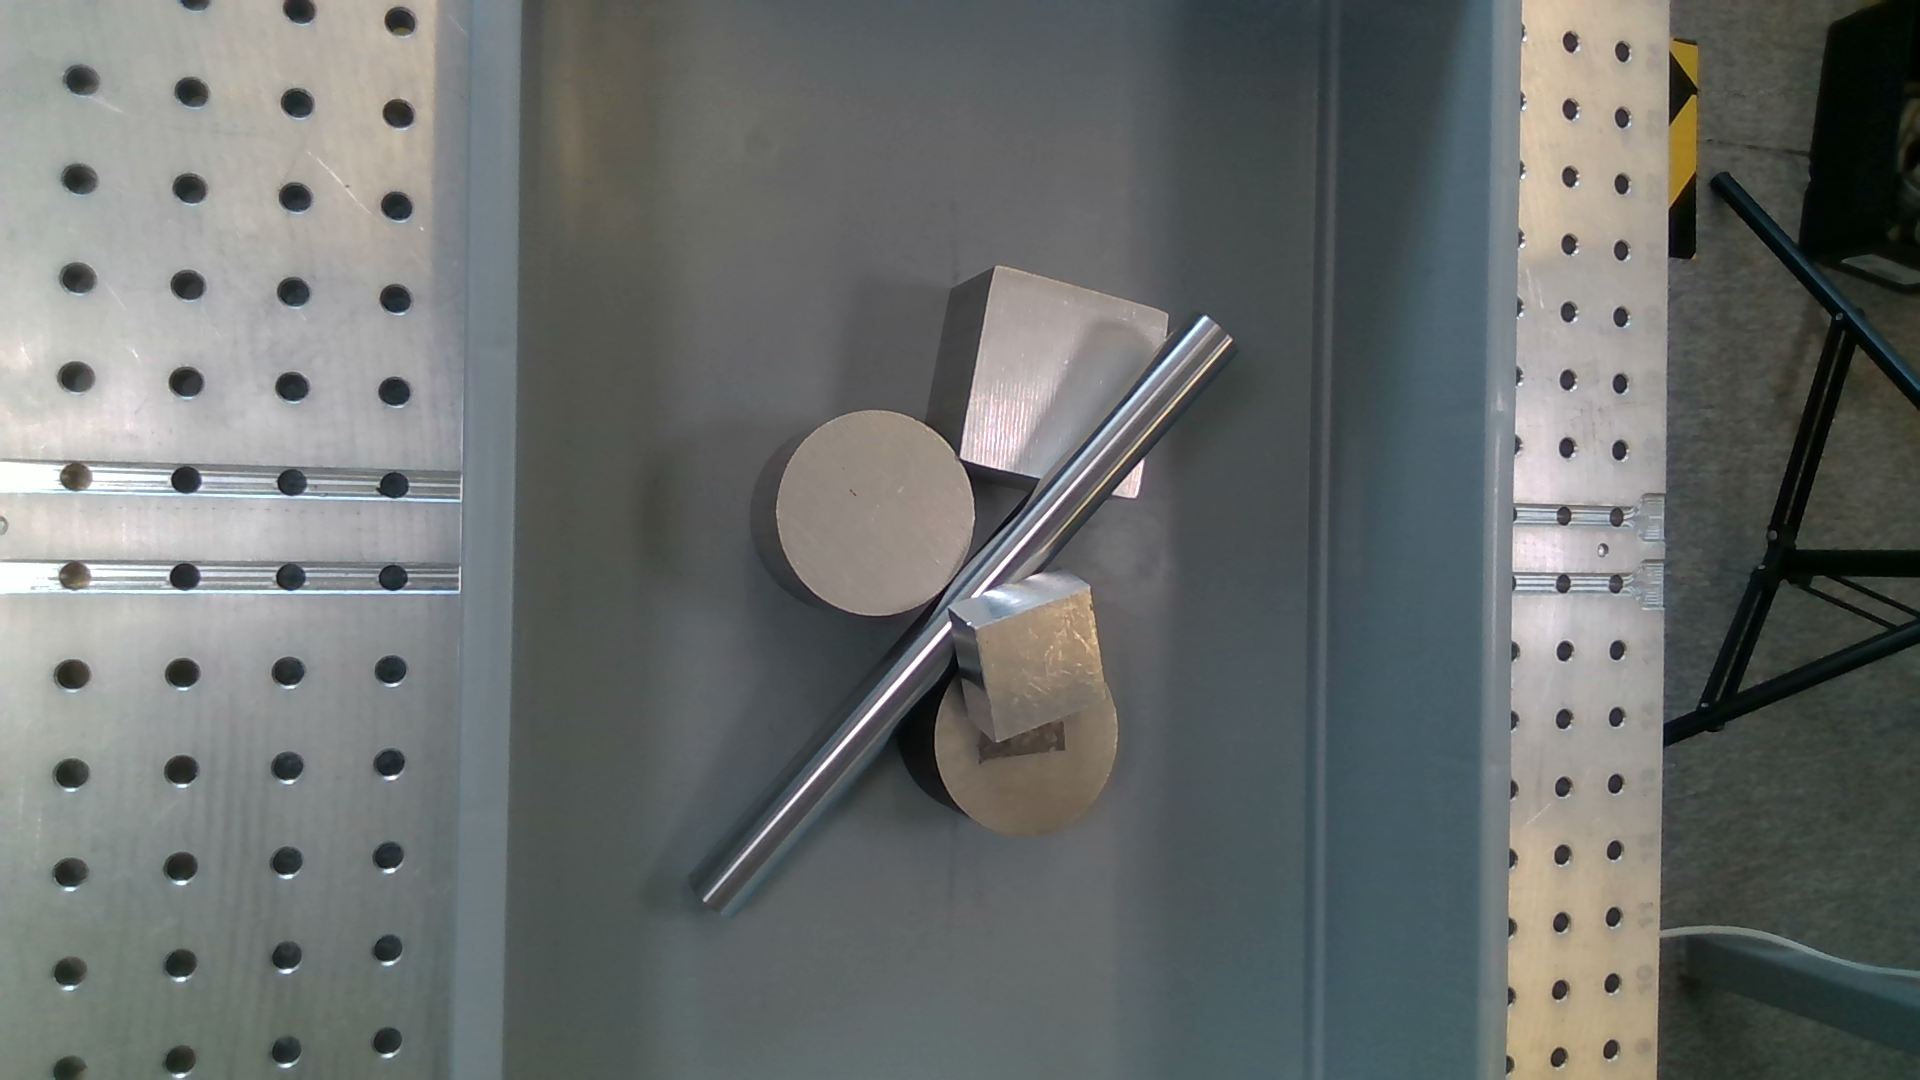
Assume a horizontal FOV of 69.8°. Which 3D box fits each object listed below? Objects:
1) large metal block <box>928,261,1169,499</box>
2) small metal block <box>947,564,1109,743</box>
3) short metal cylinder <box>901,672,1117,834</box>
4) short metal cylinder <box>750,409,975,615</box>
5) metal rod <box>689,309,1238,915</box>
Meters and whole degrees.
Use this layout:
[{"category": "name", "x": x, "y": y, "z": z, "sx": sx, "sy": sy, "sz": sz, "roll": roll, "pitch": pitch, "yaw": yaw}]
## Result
[{"category": "large metal block", "x": 0.035, "y": -0.064, "z": 0.582, "sx": 0.080, "sy": 0.050, "sz": 0.080, "roll": 12, "pitch": 86, "yaw": -20}, {"category": "small metal block", "x": 0.027, "y": 0.044, "z": 0.535, "sx": 0.050, "sy": 0.025, "sz": 0.050, "roll": -19, "pitch": 115, "yaw": -19}, {"category": "short metal cylinder", "x": 0.019, "y": 0.079, "z": 0.579, "sx": 0.080, "sy": 0.050, "sz": 0.080, "roll": 0, "pitch": 90, "yaw": -20}, {"category": "short metal cylinder", "x": -0.040, "y": -0.011, "z": 0.557, "sx": 0.080, "sy": 0.050, "sz": 0.080, "roll": 0, "pitch": 90, "yaw": -20}, {"category": "metal rod", "x": 0.001, "y": 0.029, "z": 0.548, "sx": 0.025, "sy": 0.025, "sz": 0.300, "roll": 41, "pitch": 91, "yaw": -16}]
